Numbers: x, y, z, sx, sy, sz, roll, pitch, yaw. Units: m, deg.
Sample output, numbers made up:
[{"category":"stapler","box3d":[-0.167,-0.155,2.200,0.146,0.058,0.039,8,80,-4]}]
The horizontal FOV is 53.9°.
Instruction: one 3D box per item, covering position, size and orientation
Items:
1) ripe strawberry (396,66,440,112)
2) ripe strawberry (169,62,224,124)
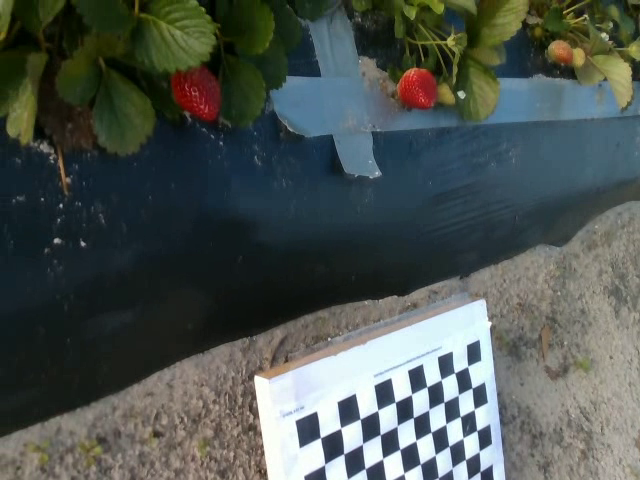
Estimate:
[{"category":"ripe strawberry","box3d":[0.048,-0.068,0.287,0.023,0.026,0.021,-2,-41,-15]},{"category":"ripe strawberry","box3d":[-0.040,-0.048,0.208,0.018,0.023,0.021,-20,-18,-21]}]
